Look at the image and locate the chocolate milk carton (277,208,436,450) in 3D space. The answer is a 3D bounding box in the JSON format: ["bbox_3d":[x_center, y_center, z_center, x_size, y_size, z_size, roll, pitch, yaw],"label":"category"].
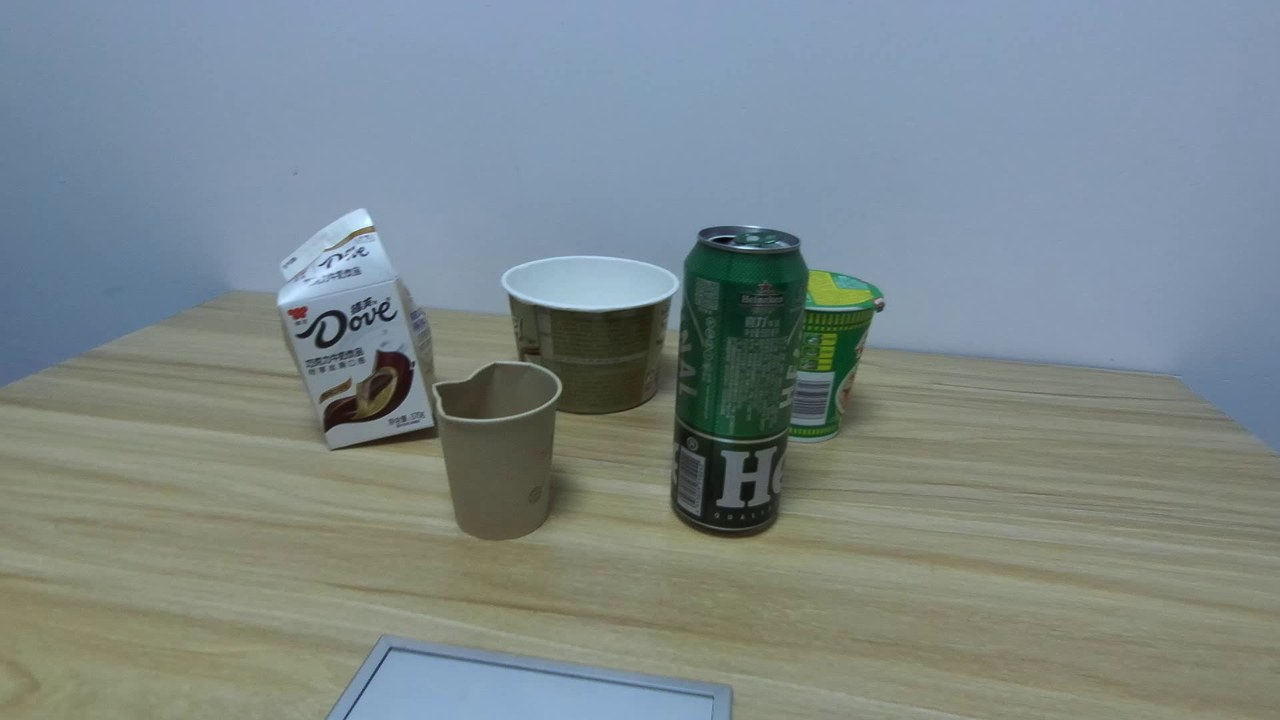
[{"bbox_3d":[-0.193,-0.020,0.487,0.089,0.156,0.076,-20,26,-16],"label":"chocolate milk carton"}]

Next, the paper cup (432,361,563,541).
[{"bbox_3d":[-0.079,0.053,0.403,0.069,0.081,0.073,-7,23,-20],"label":"paper cup"}]

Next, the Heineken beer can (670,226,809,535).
[{"bbox_3d":[0.055,0.014,0.399,0.067,0.169,0.067,2,22,0],"label":"Heineken beer can"}]

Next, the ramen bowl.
[{"bbox_3d":[-0.038,-0.021,0.568,0.140,0.095,0.140,3,23,-1],"label":"ramen bowl"}]

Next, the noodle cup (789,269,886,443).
[{"bbox_3d":[0.121,-0.002,0.519,0.097,0.110,0.097,2,22,-1],"label":"noodle cup"}]
